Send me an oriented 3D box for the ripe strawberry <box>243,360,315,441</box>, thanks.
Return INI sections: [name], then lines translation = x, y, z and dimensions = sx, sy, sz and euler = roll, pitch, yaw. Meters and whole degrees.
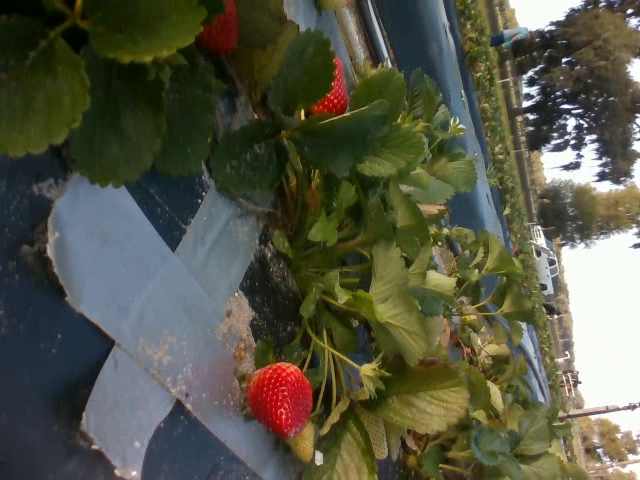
[ripe strawberry]
translation = -0.008, 0.044, 0.156
dimensions = 0.021, 0.023, 0.026
euler = -36, 18, 12
